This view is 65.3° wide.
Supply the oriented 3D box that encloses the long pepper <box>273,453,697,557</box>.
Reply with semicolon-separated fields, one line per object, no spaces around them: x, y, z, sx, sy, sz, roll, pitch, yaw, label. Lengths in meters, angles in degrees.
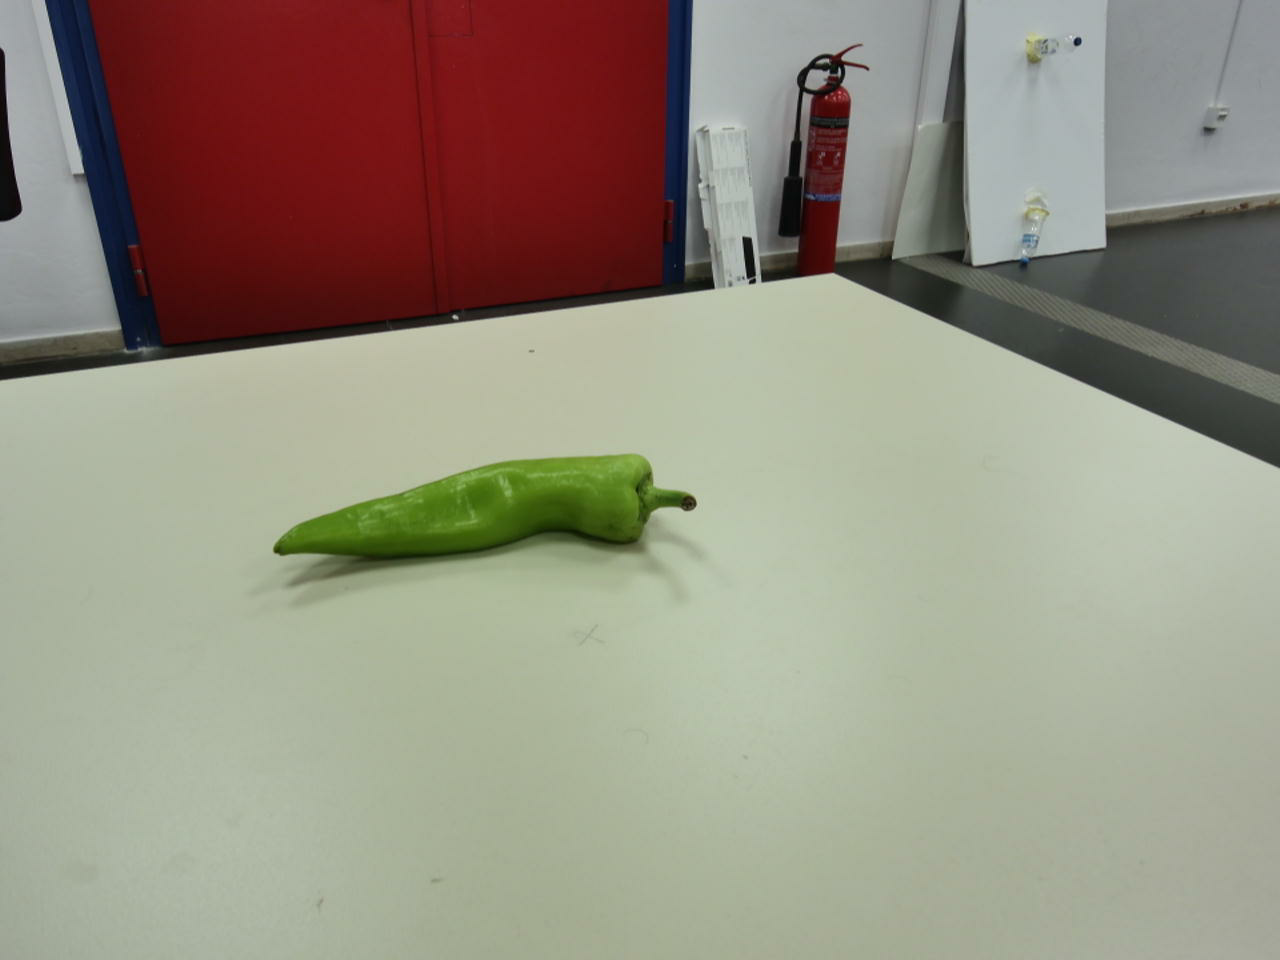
-0.077;0.014;0.513;0.204;0.045;0.065;-4;26;-8;long pepper
